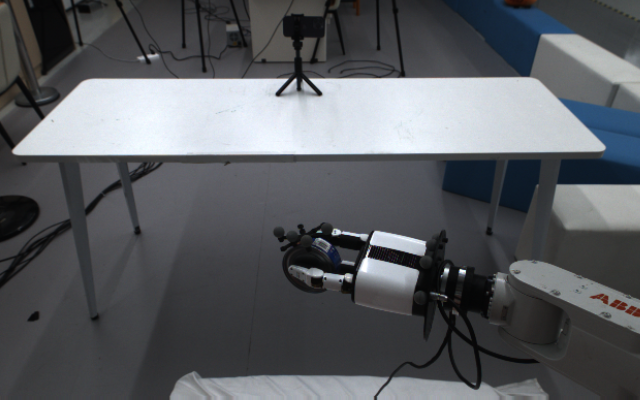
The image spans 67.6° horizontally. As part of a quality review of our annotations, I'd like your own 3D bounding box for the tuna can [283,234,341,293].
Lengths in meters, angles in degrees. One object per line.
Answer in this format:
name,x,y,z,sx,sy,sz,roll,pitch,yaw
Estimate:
tuna can,-0.010,0.102,0.734,0.085,0.085,0.034,13,28,15
